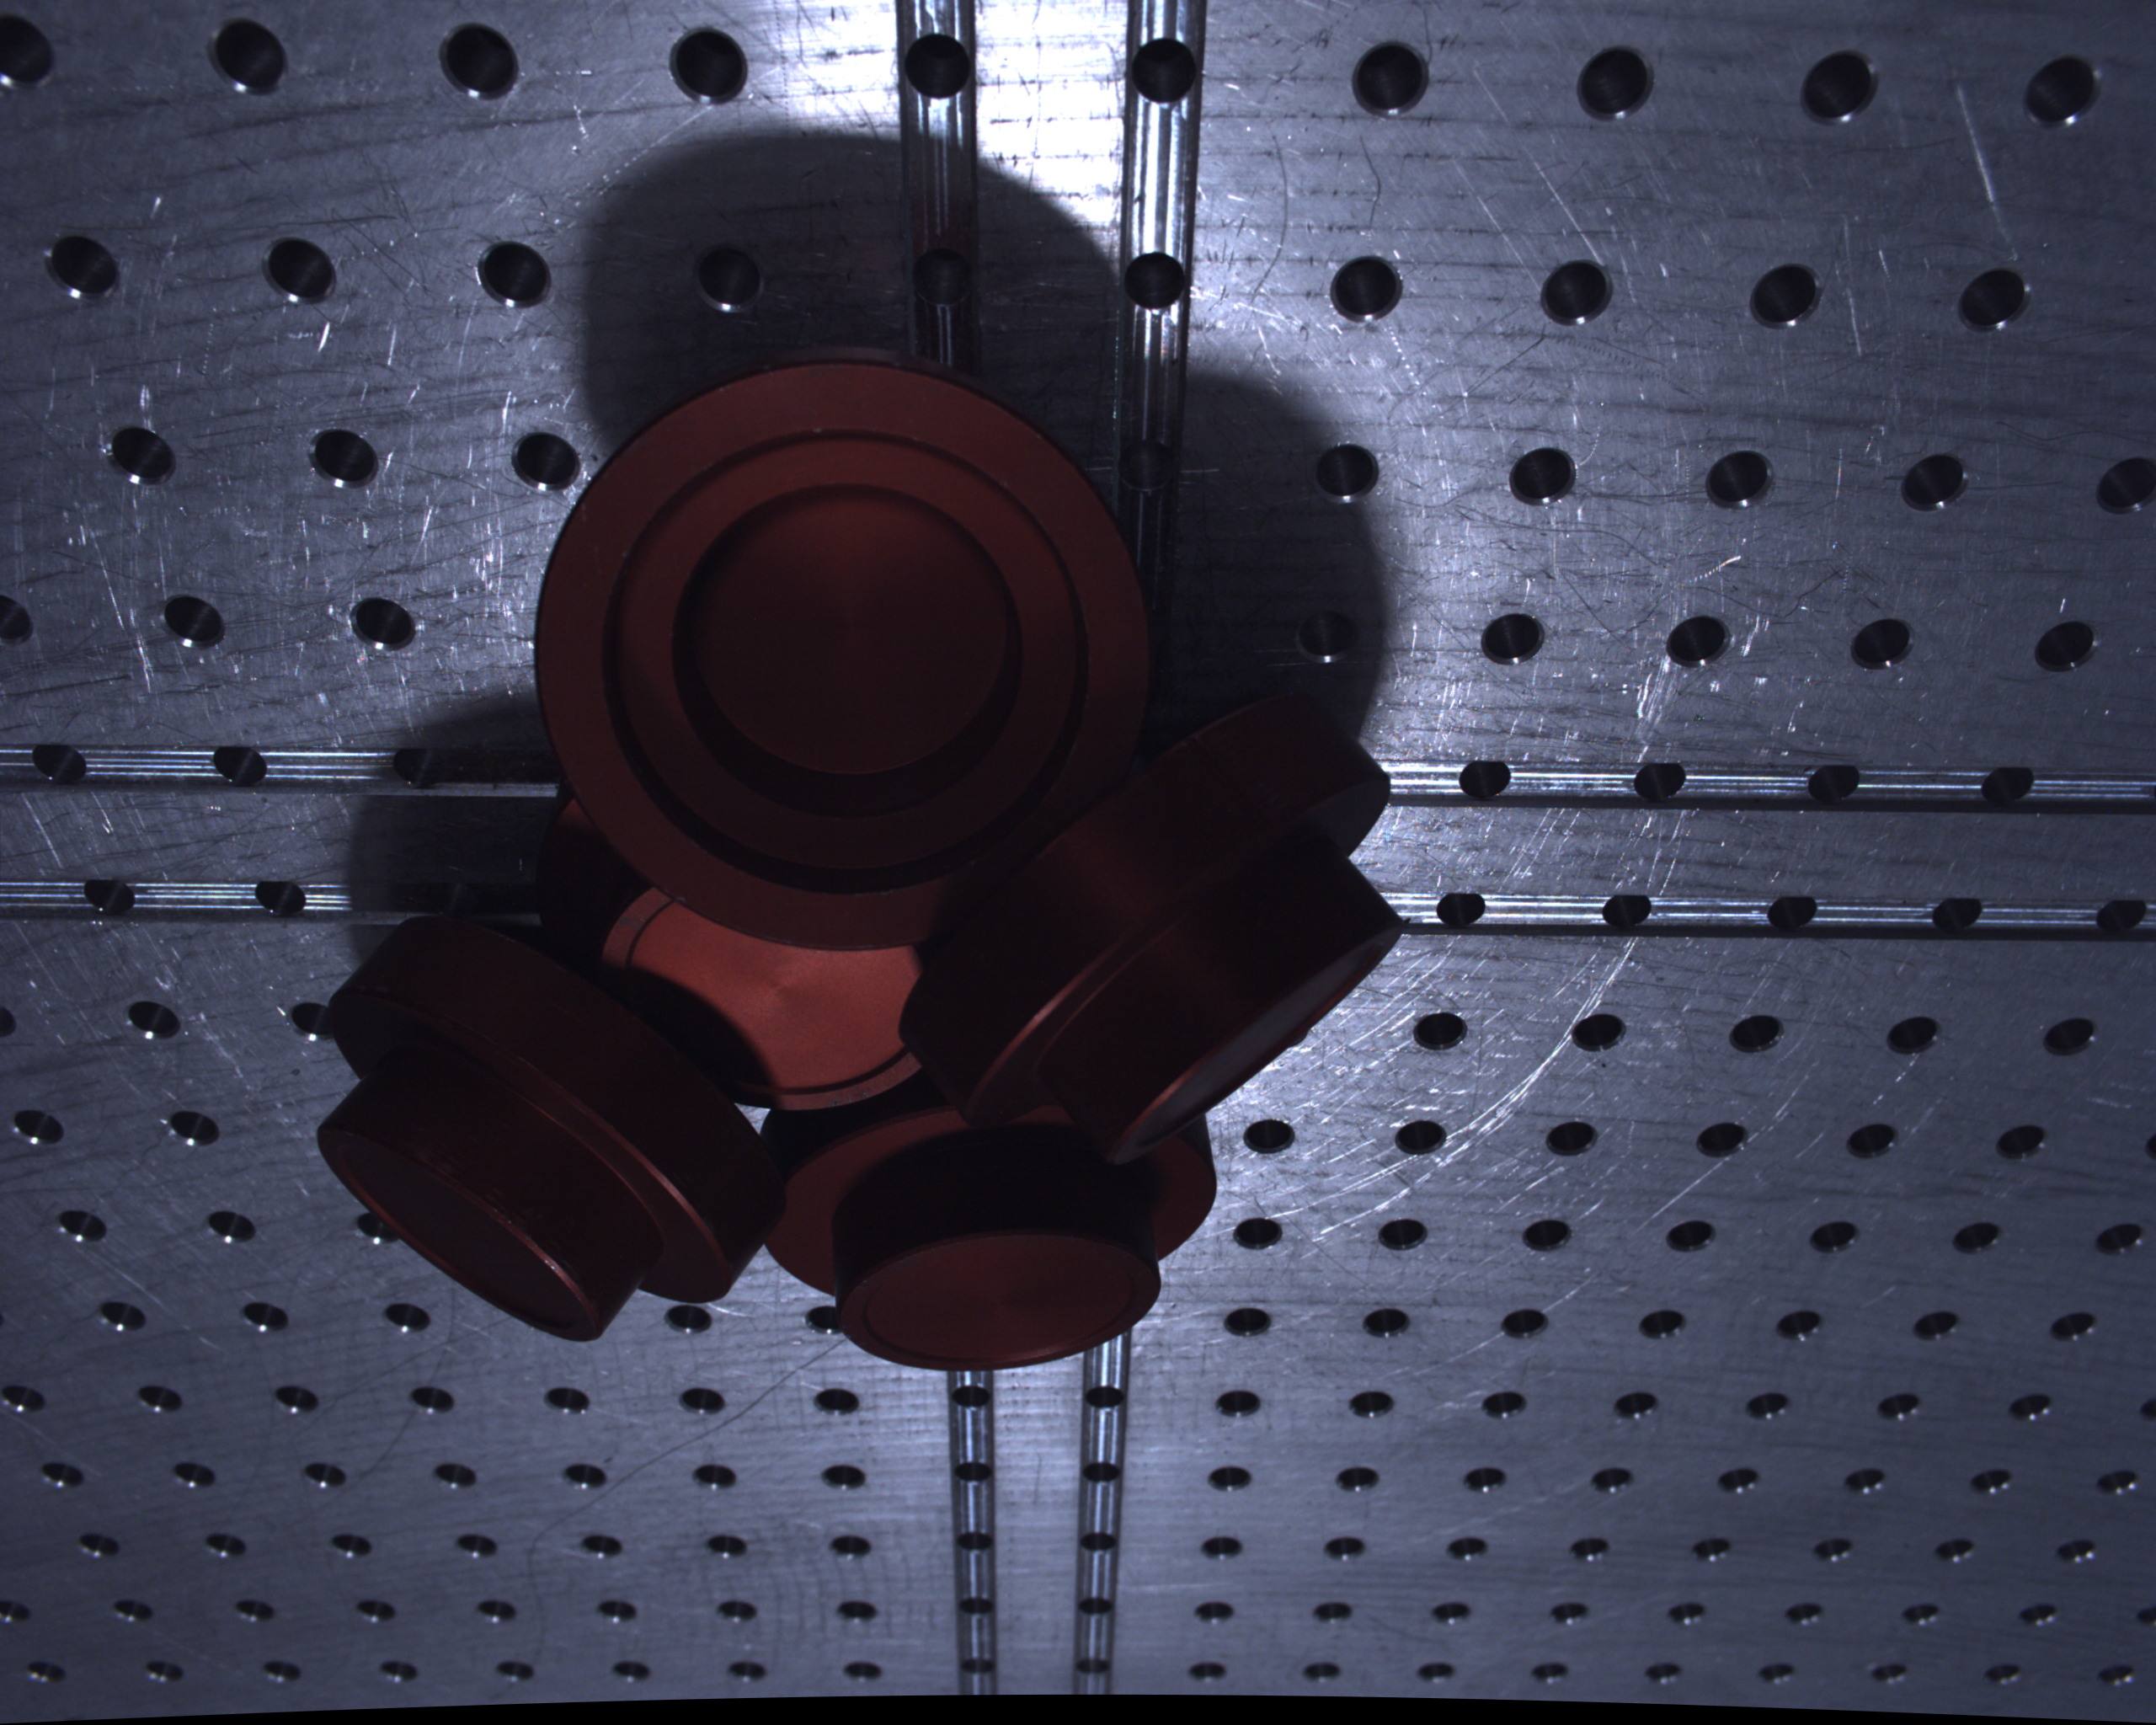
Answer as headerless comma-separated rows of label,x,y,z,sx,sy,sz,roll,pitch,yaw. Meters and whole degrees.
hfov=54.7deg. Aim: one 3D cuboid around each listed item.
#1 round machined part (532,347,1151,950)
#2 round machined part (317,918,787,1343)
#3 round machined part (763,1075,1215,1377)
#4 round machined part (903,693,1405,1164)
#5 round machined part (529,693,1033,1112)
round machined part,-0.039,-0.038,0.353,0.099,0.042,0.097,-2,109,-5
round machined part,-0.111,0.059,0.418,0.098,0.042,0.097,24,148,17
round machined part,-0.019,0.077,0.450,0.099,0.042,0.097,-5,142,-4
round machined part,0.020,0.017,0.377,0.042,0.099,0.097,50,123,13
round machined part,-0.057,0.011,0.407,0.099,0.042,0.097,-1,130,0
